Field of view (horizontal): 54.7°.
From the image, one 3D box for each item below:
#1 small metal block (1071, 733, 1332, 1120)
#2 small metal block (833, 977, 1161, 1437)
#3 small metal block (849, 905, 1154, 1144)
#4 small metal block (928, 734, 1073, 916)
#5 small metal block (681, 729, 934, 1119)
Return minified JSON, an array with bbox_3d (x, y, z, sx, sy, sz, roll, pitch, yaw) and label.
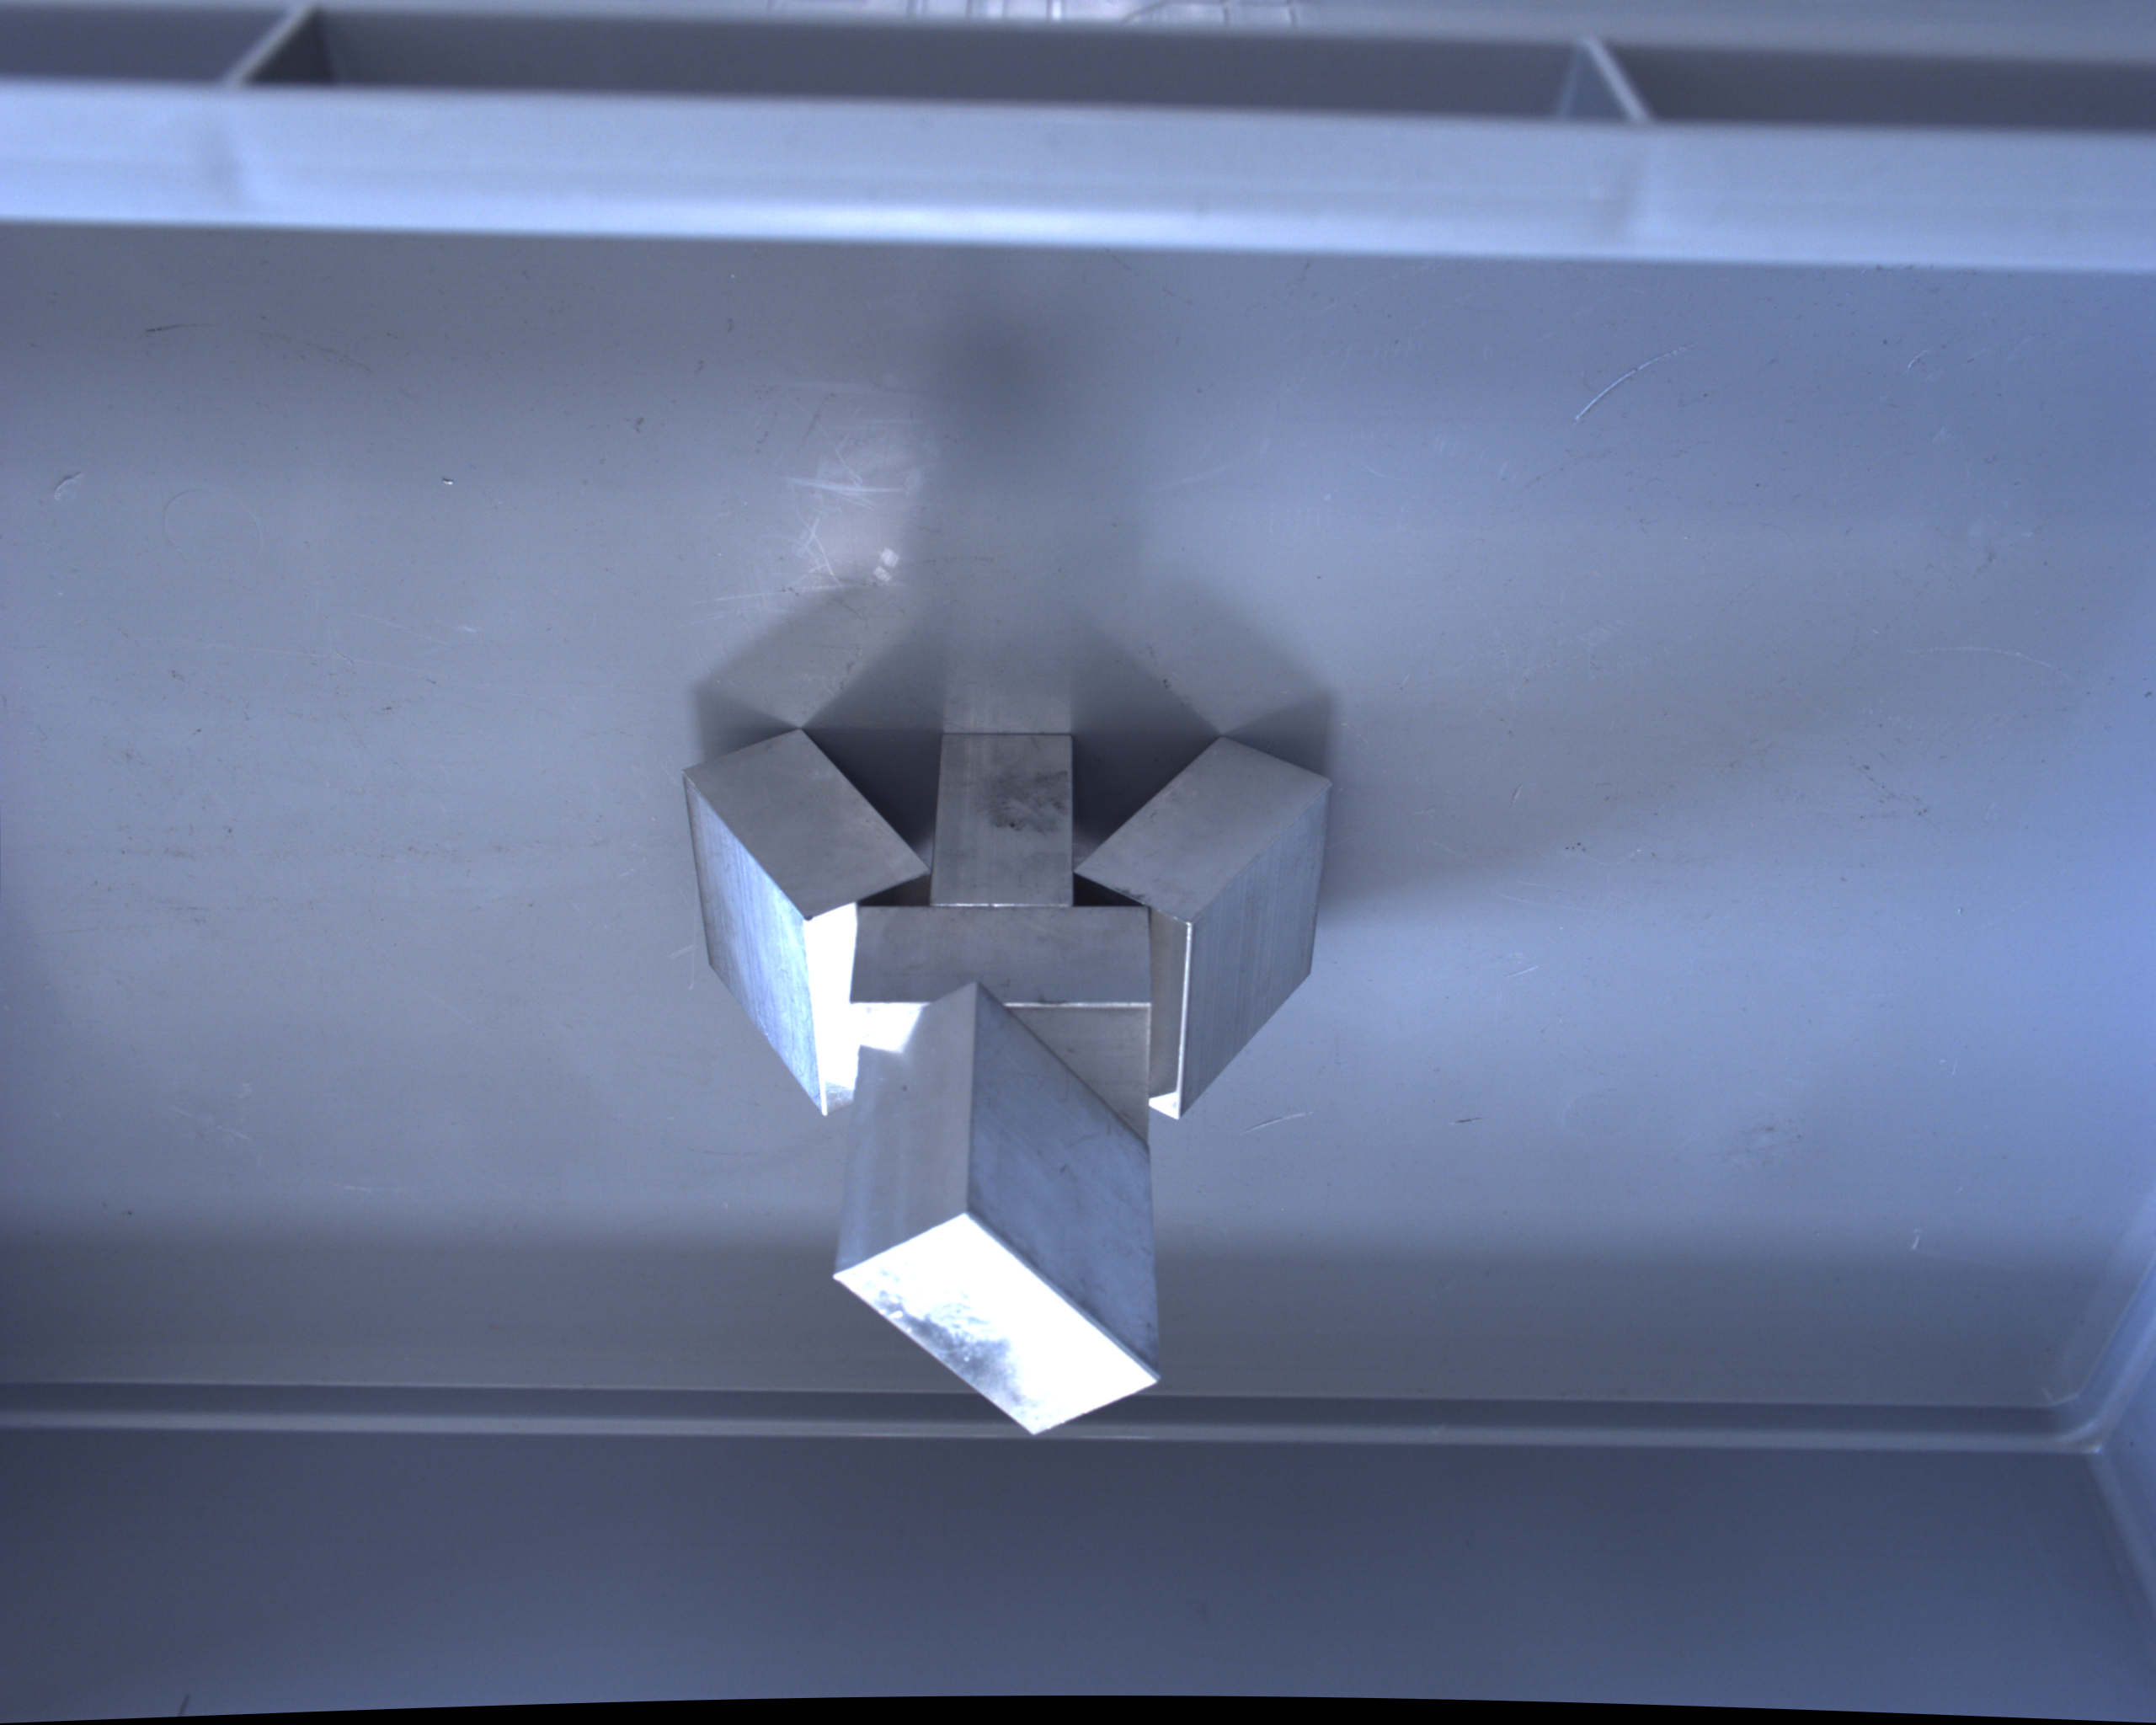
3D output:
[{"bbox_3d":[0.023,0.012,0.398,0.025,0.050,0.050,24,135,25],"label":"small metal block"},{"bbox_3d":[-0.012,0.056,0.338,0.025,0.050,0.050,-28,125,22],"label":"small metal block"},{"bbox_3d":[-0.013,0.035,0.369,0.050,0.025,0.050,0,130,-1],"label":"small metal block"},{"bbox_3d":[-0.014,0.010,0.398,0.025,0.050,0.050,1,130,-1],"label":"small metal block"},{"bbox_3d":[-0.050,0.011,0.395,0.025,0.050,0.050,-23,136,-25],"label":"small metal block"}]
